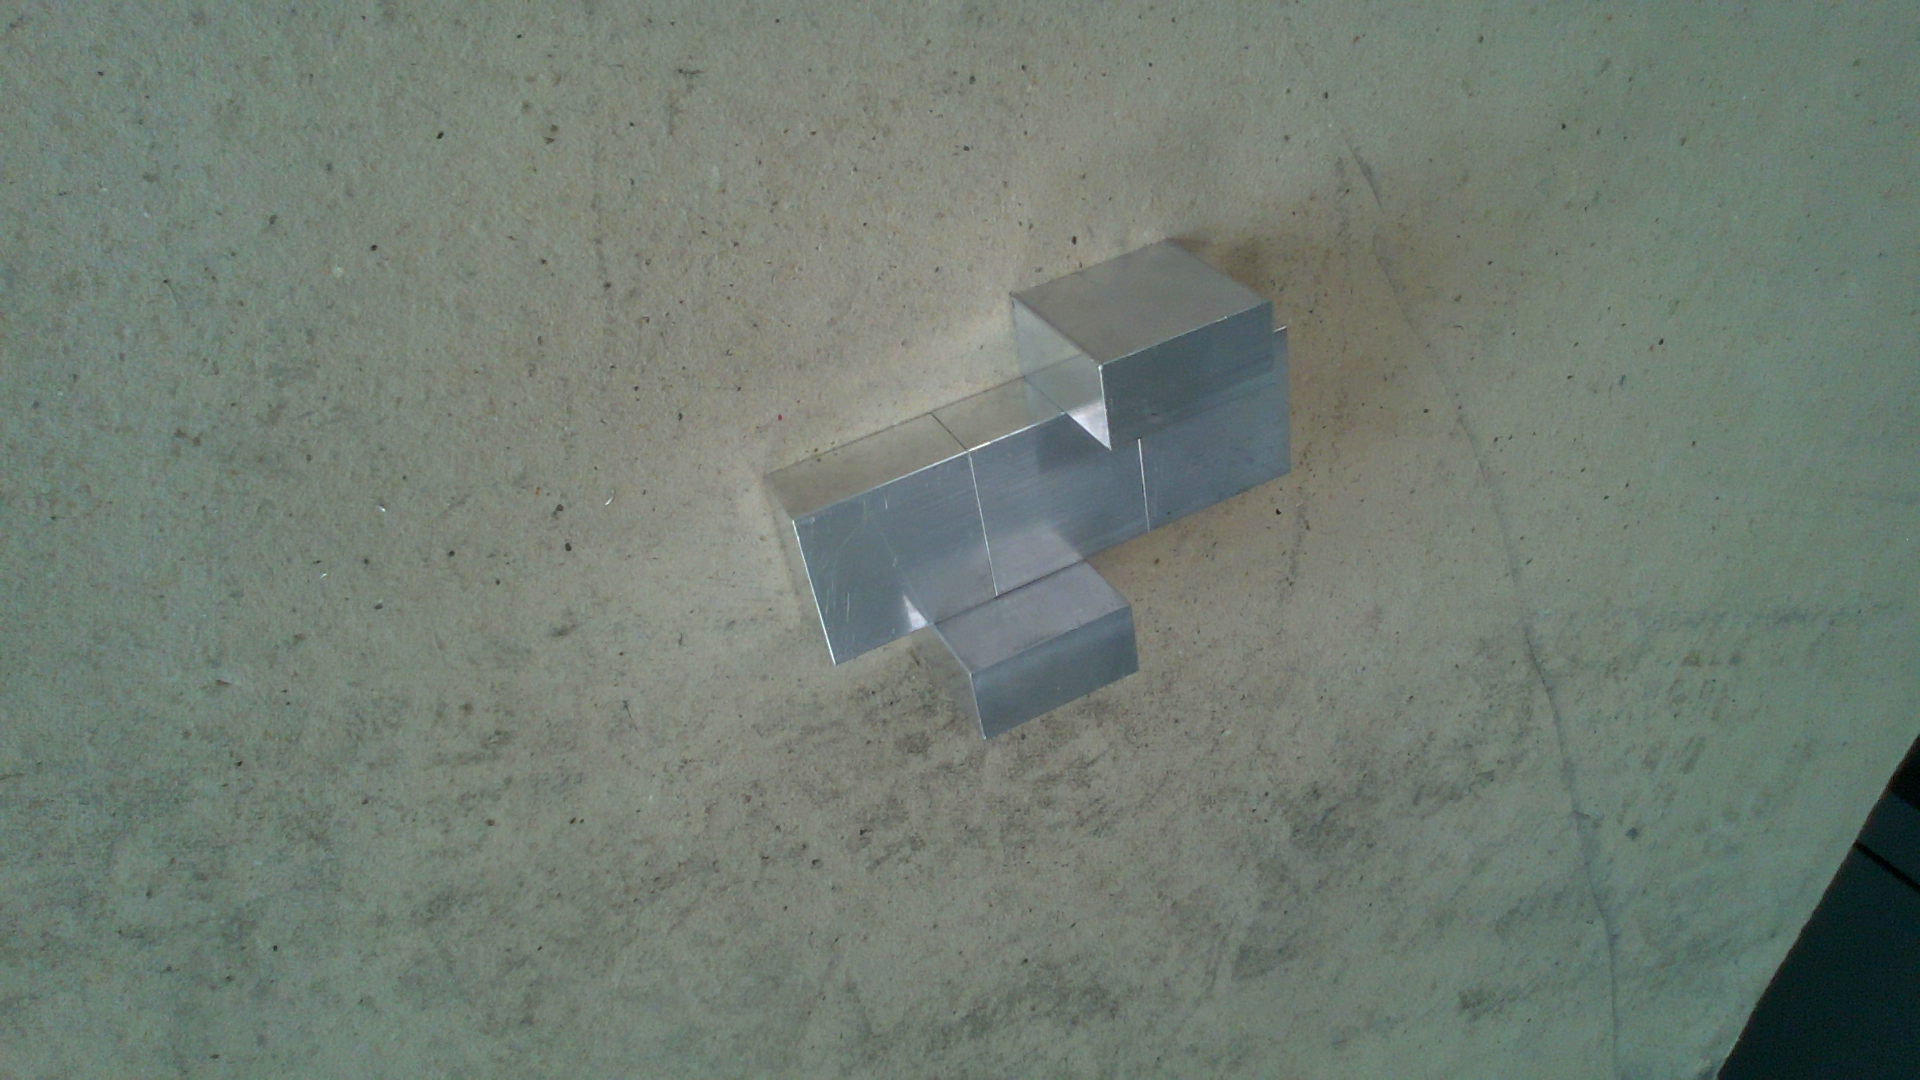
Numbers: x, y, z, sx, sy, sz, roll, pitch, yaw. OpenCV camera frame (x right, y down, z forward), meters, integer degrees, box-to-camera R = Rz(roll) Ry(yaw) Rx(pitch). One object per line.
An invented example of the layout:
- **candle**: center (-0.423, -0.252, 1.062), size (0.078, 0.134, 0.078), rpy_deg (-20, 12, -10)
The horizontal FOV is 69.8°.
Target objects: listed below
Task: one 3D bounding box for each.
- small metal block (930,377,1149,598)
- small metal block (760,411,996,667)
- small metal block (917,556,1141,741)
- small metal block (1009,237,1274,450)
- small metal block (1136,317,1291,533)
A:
- **small metal block**: center (0.024, -0.019, 0.391), size (0.050, 0.025, 0.050), rpy_deg (-22, 127, -15)
- **small metal block**: center (-0.021, 0.000, 0.377), size (0.050, 0.025, 0.050), rpy_deg (-22, 127, -15)
- **small metal block**: center (0.017, 0.024, 0.398), size (0.050, 0.050, 0.025), rpy_deg (-22, 126, -14)
- **small metal block**: center (0.048, -0.054, 0.367), size (0.050, 0.050, 0.025), rpy_deg (-22, 127, -14)
- **small metal block**: center (0.068, -0.037, 0.404), size (0.050, 0.025, 0.050), rpy_deg (-22, 127, -15)
